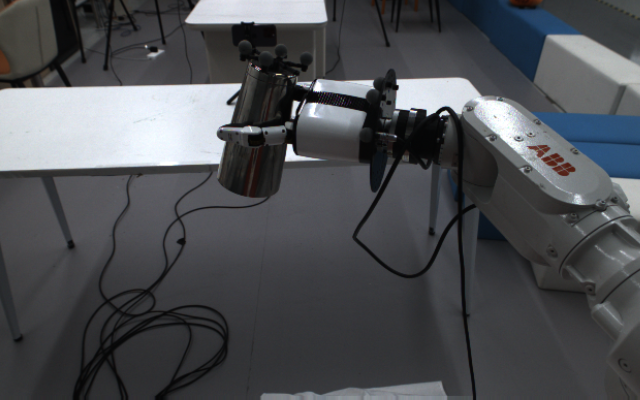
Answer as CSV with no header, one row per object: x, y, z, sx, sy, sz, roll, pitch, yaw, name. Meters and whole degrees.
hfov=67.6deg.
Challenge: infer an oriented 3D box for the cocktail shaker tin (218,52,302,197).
-0.080,-0.101,0.662,0.093,0.170,0.093,12,29,-7,cocktail shaker tin
